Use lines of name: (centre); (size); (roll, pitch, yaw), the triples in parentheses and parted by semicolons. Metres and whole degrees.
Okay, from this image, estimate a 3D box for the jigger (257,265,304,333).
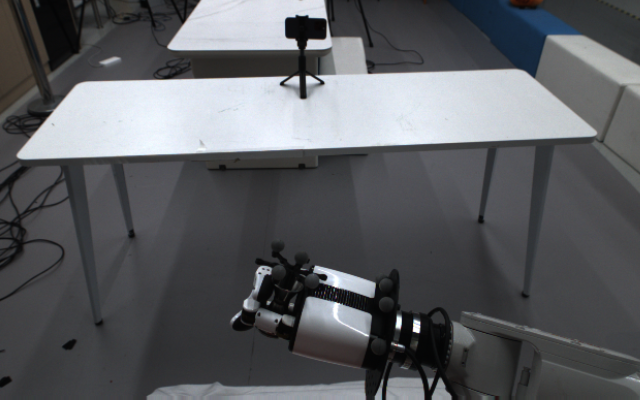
jigger: (-0.048, 0.130, 0.597); (0.043, 0.071, 0.043); (18, 17, -6)
